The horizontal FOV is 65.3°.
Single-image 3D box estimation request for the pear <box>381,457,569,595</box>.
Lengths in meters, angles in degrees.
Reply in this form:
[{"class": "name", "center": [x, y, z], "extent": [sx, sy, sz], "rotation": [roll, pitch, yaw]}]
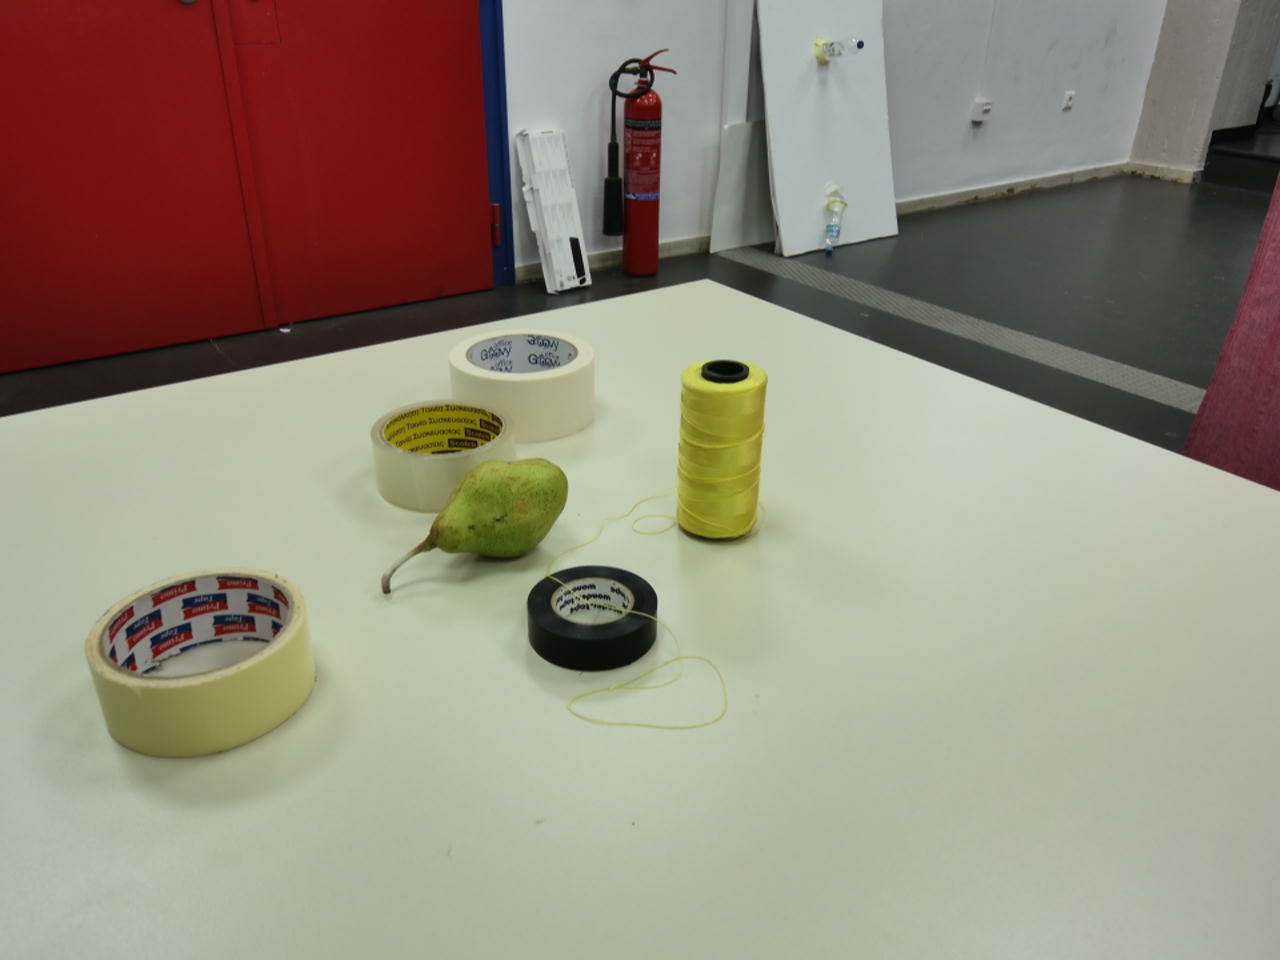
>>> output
[{"class": "pear", "center": [-0.094, 0.019, 0.558], "extent": [0.111, 0.056, 0.056], "rotation": [-10, 27, -19]}]
